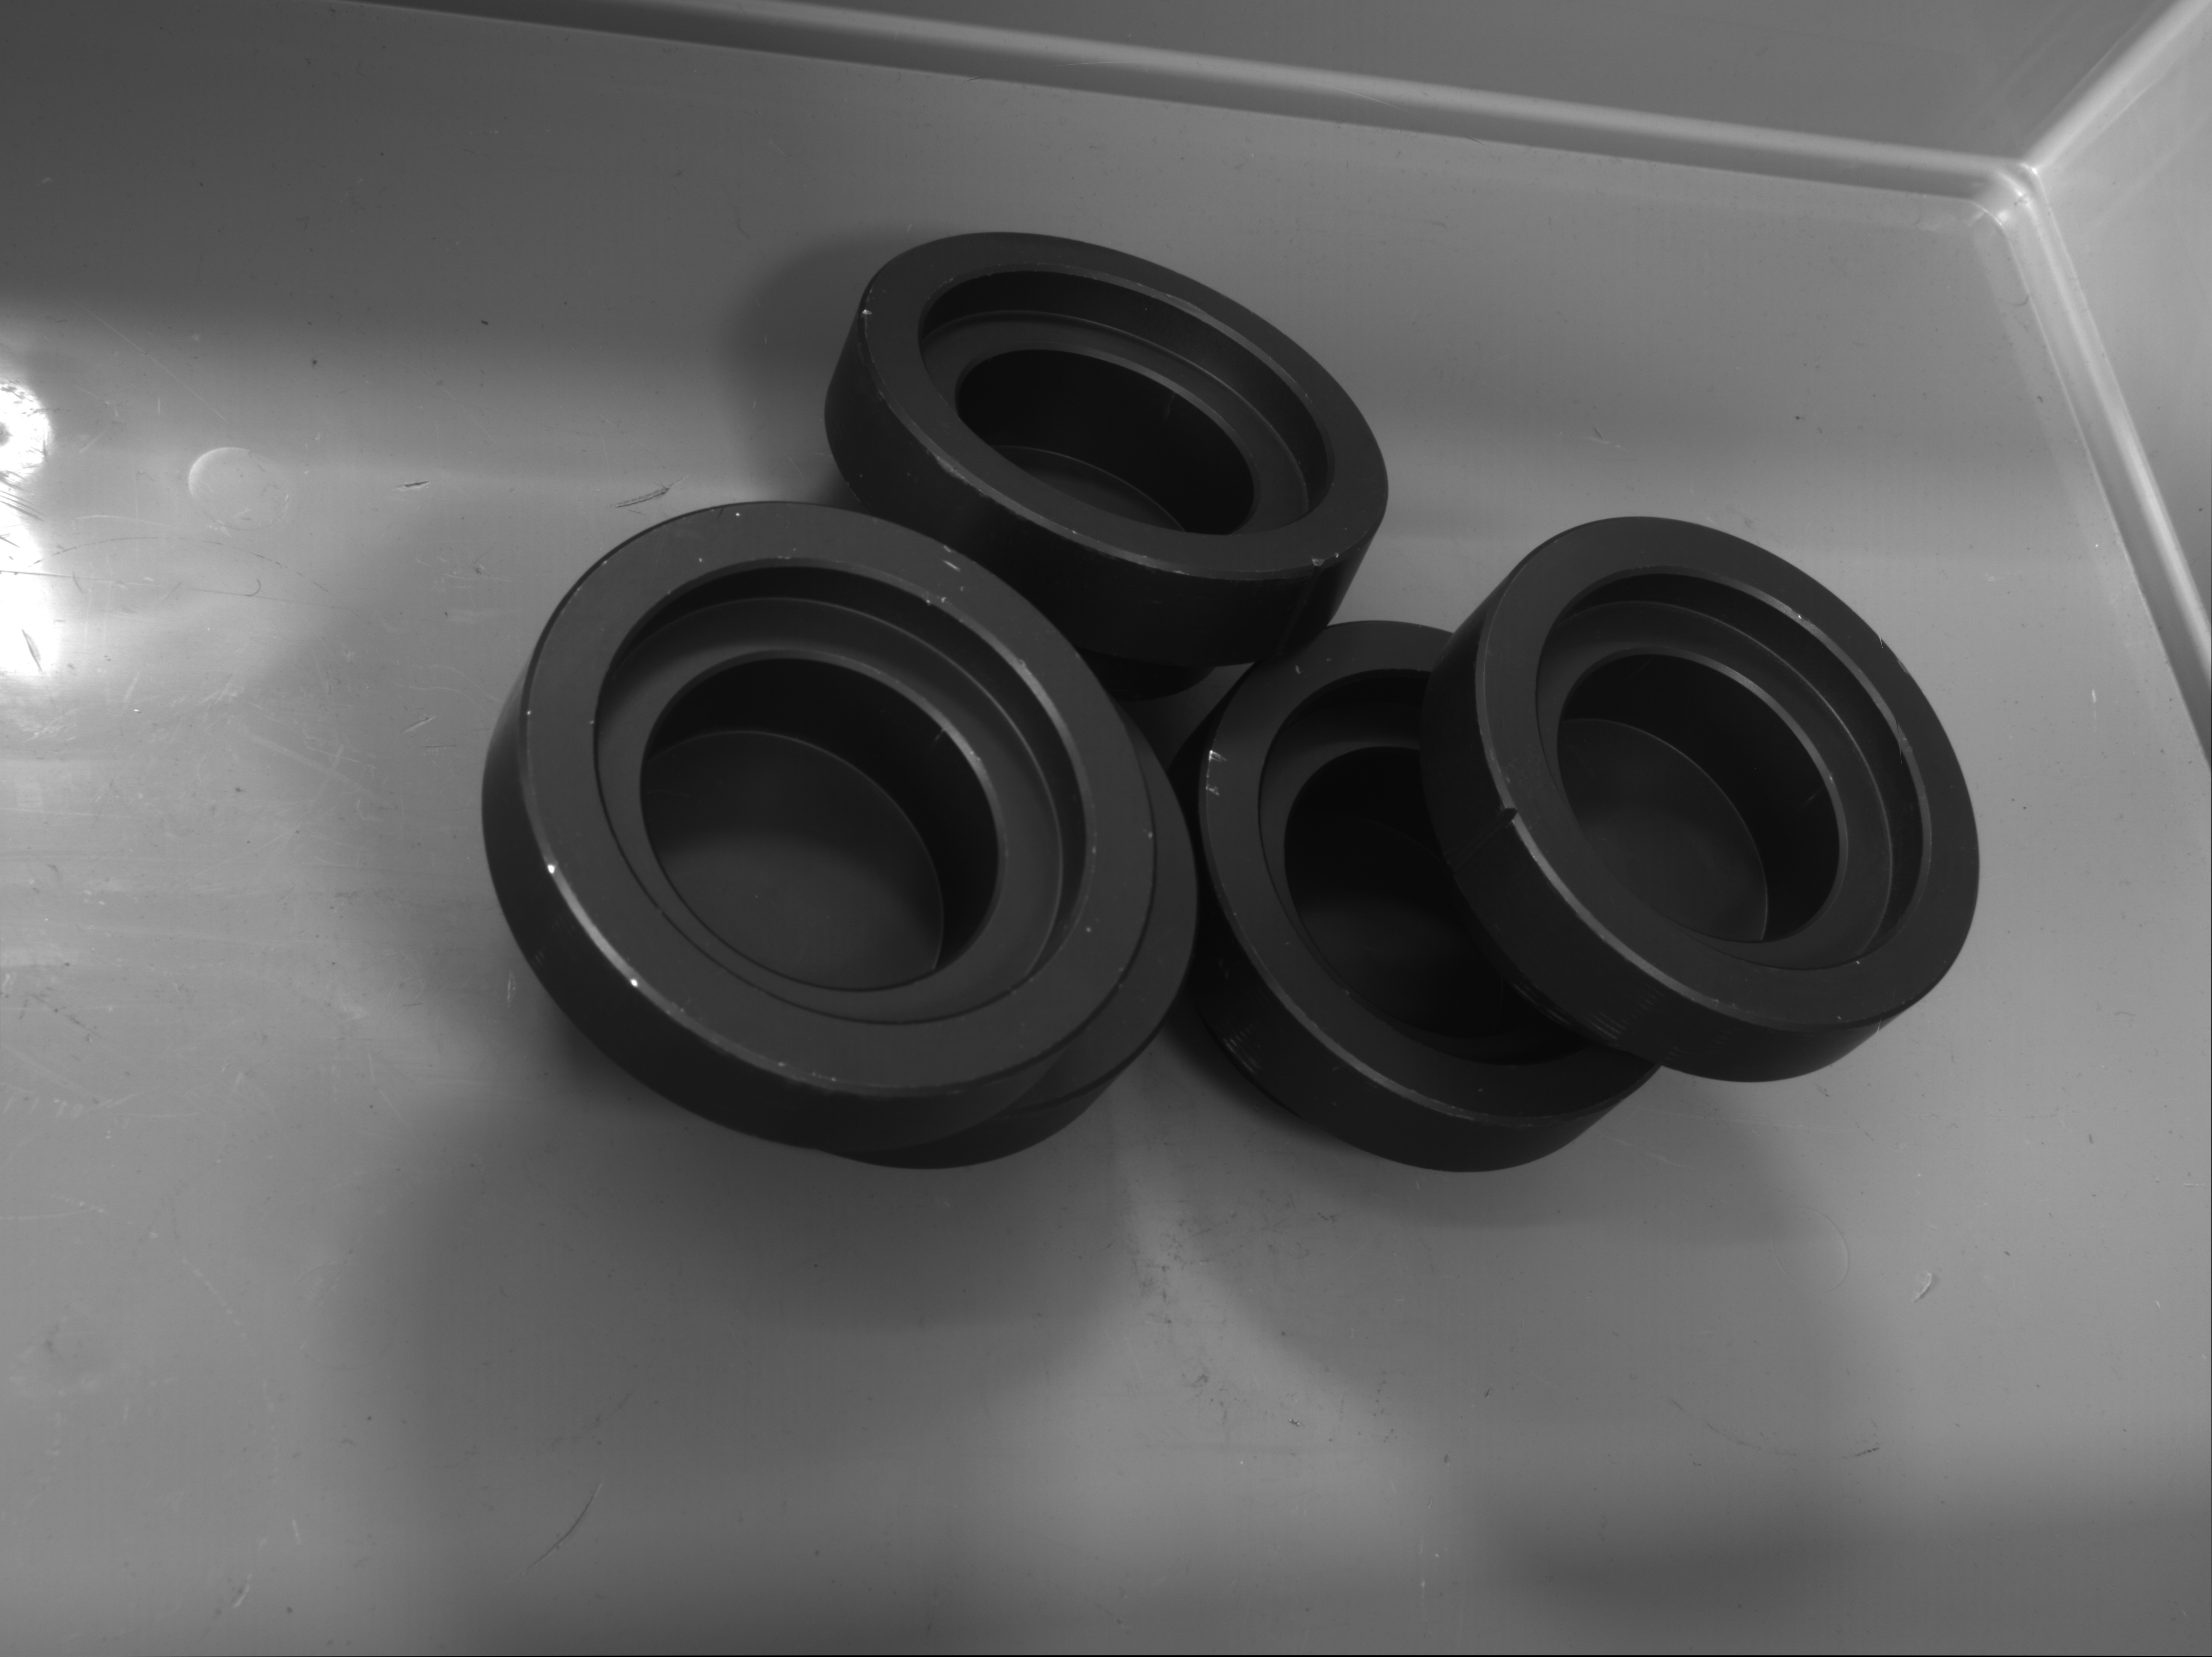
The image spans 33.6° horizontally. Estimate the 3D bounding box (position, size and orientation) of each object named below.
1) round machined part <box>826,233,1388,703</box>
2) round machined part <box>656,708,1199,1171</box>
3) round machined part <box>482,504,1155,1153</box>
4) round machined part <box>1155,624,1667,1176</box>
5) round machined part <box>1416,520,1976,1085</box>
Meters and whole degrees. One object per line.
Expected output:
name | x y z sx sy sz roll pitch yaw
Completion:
round machined part | -0.003 -0.060 0.649 0.098 0.042 0.098 16 38 -13
round machined part | -0.038 0.011 0.599 0.098 0.042 0.098 14 56 -21
round machined part | -0.045 0.004 0.546 0.098 0.042 0.098 14 56 -21
round machined part | 0.052 0.016 0.645 0.098 0.042 0.098 14 56 -21
round machined part | 0.096 0.000 0.625 0.098 0.042 0.098 14 56 -21
